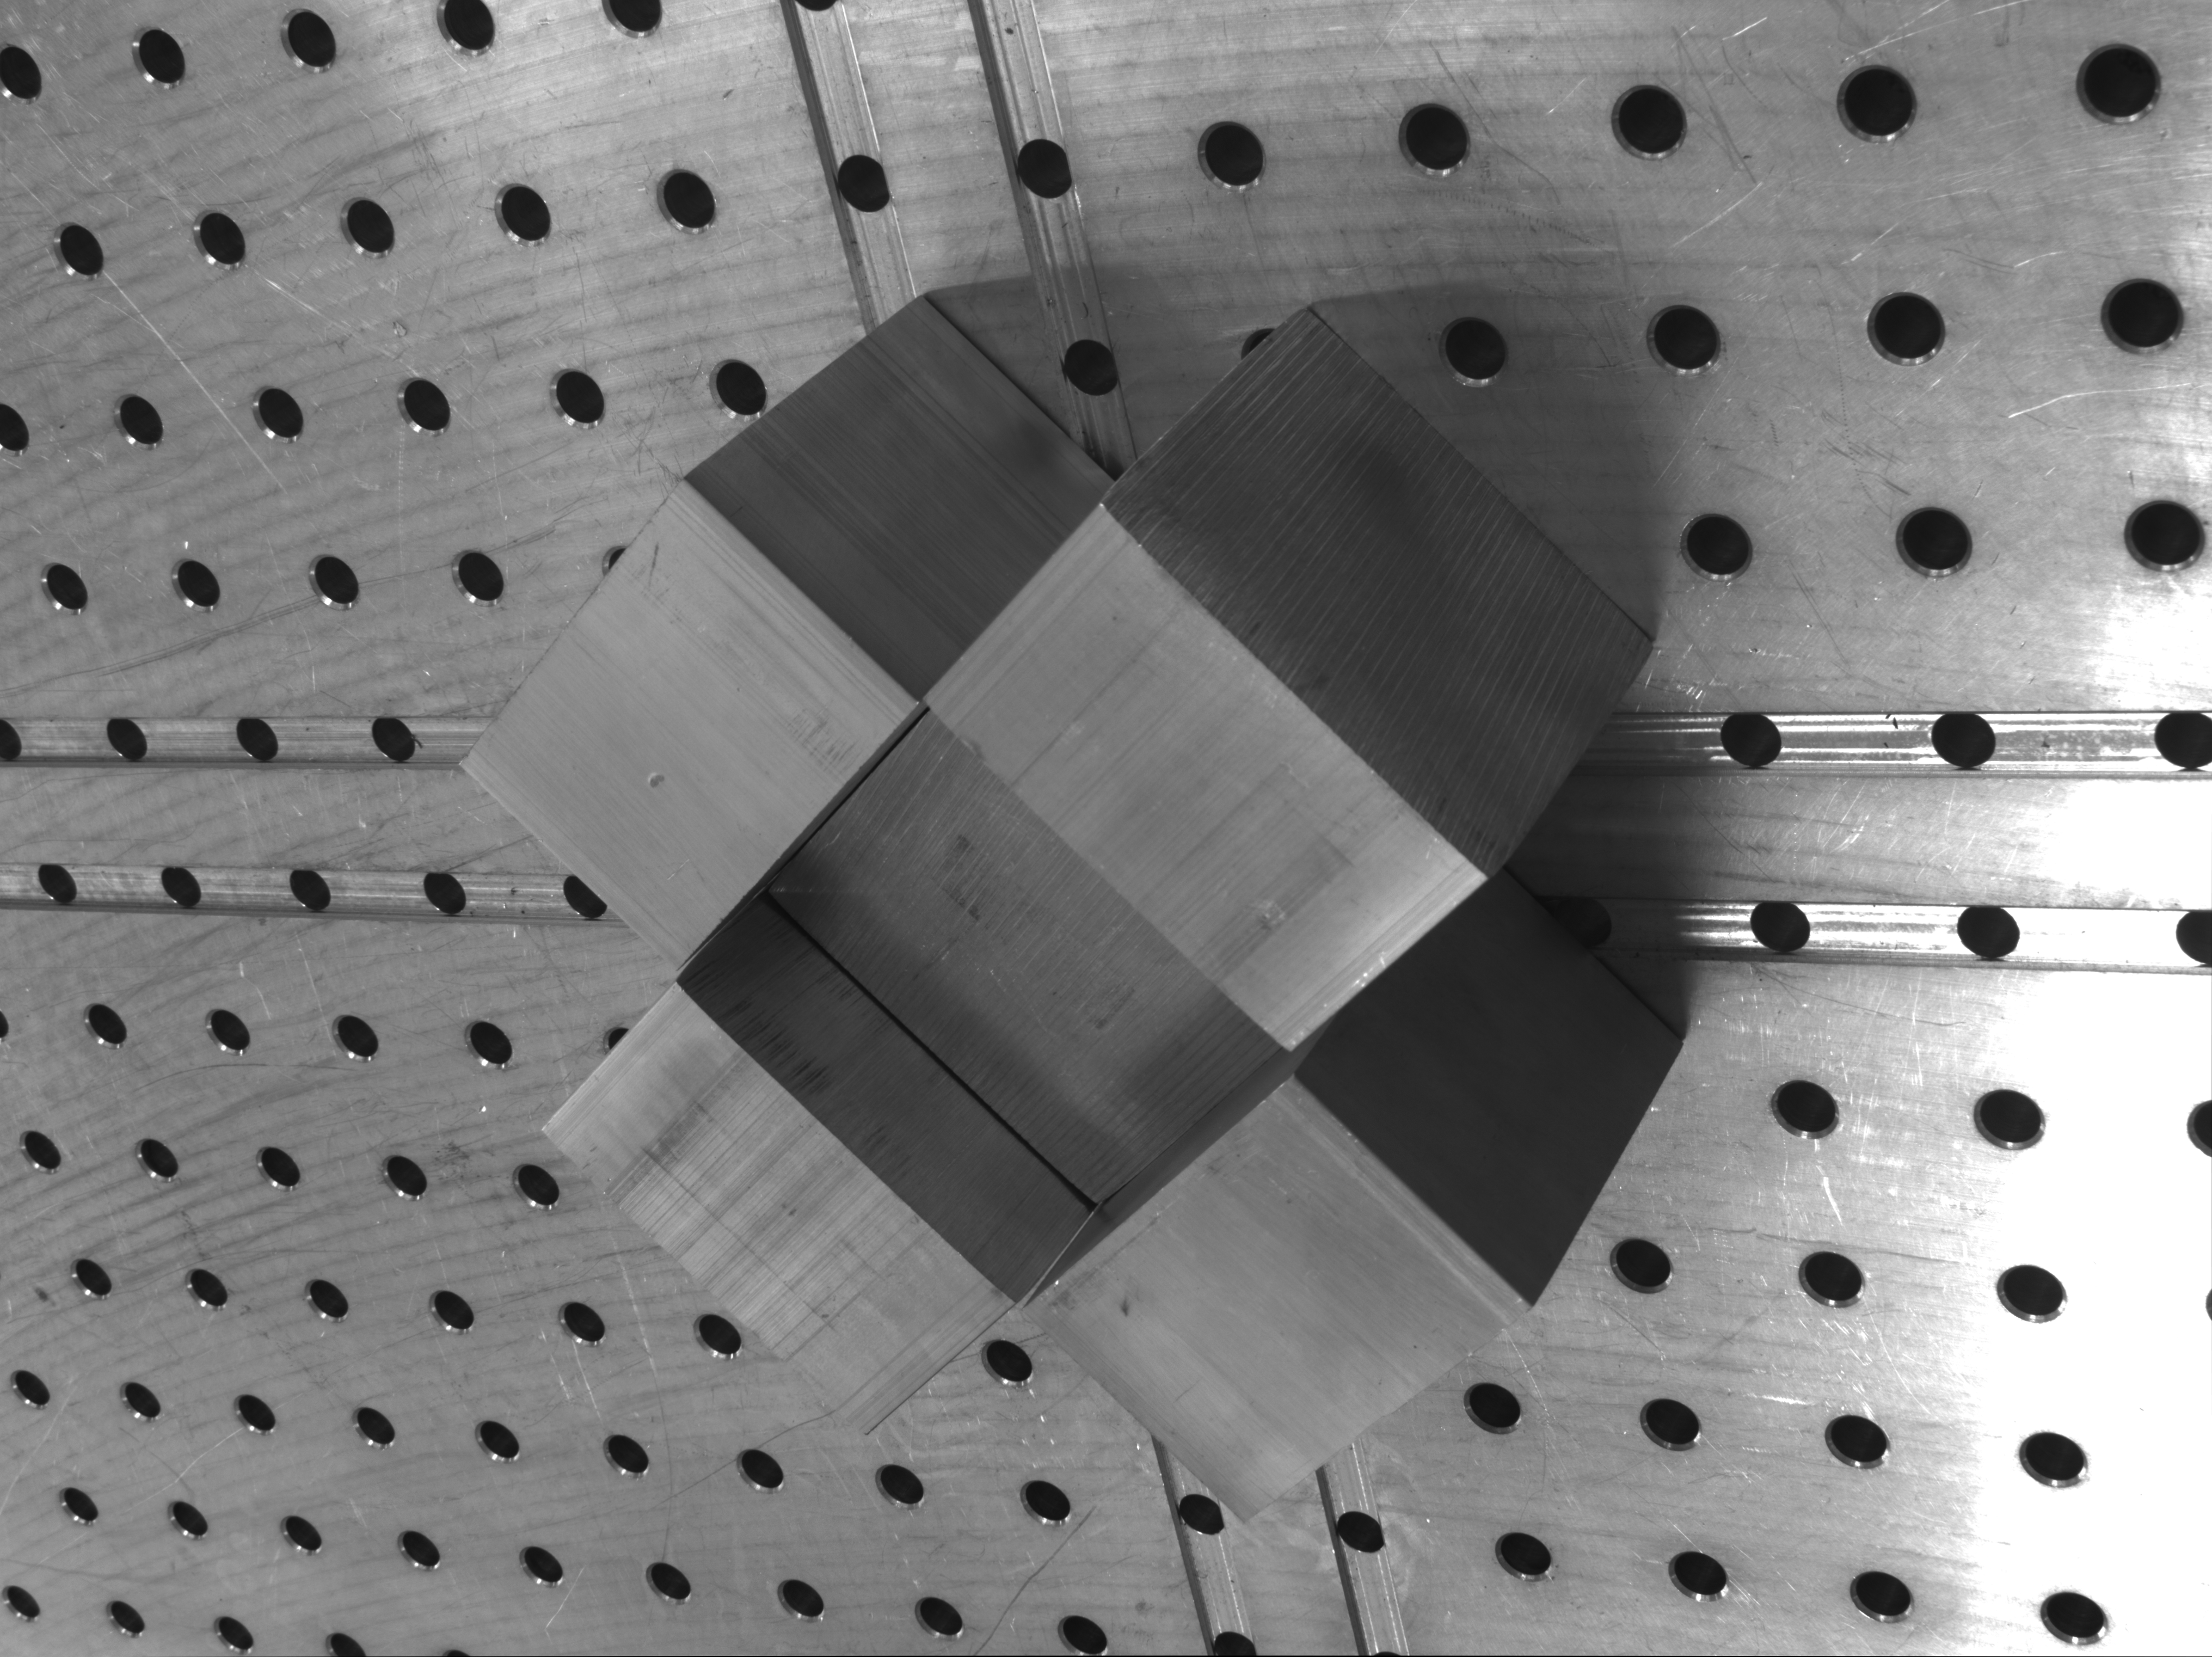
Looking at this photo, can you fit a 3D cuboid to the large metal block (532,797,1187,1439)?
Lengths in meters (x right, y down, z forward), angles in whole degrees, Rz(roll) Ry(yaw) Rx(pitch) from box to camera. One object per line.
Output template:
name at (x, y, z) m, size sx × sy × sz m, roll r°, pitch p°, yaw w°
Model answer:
large metal block at (-0.042, 0.048, 0.662) m, size 0.080 × 0.080 × 0.050 m, roll 43°, pitch 129°, yaw -2°

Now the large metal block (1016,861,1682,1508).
large metal block at (0.042, 0.057, 0.625) m, size 0.050 × 0.080 × 0.080 m, roll 45°, pitch 129°, yaw -2°

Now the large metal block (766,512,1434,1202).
large metal block at (0.001, 0.005, 0.631) m, size 0.080 × 0.050 × 0.080 m, roll 45°, pitch 131°, yaw -1°

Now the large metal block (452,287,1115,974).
large metal block at (-0.052, -0.034, 0.618) m, size 0.050 × 0.080 × 0.080 m, roll 43°, pitch 129°, yaw -2°

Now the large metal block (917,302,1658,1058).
large metal block at (0.030, -0.025, 0.580) m, size 0.080 × 0.080 × 0.050 m, roll 43°, pitch 129°, yaw -2°
